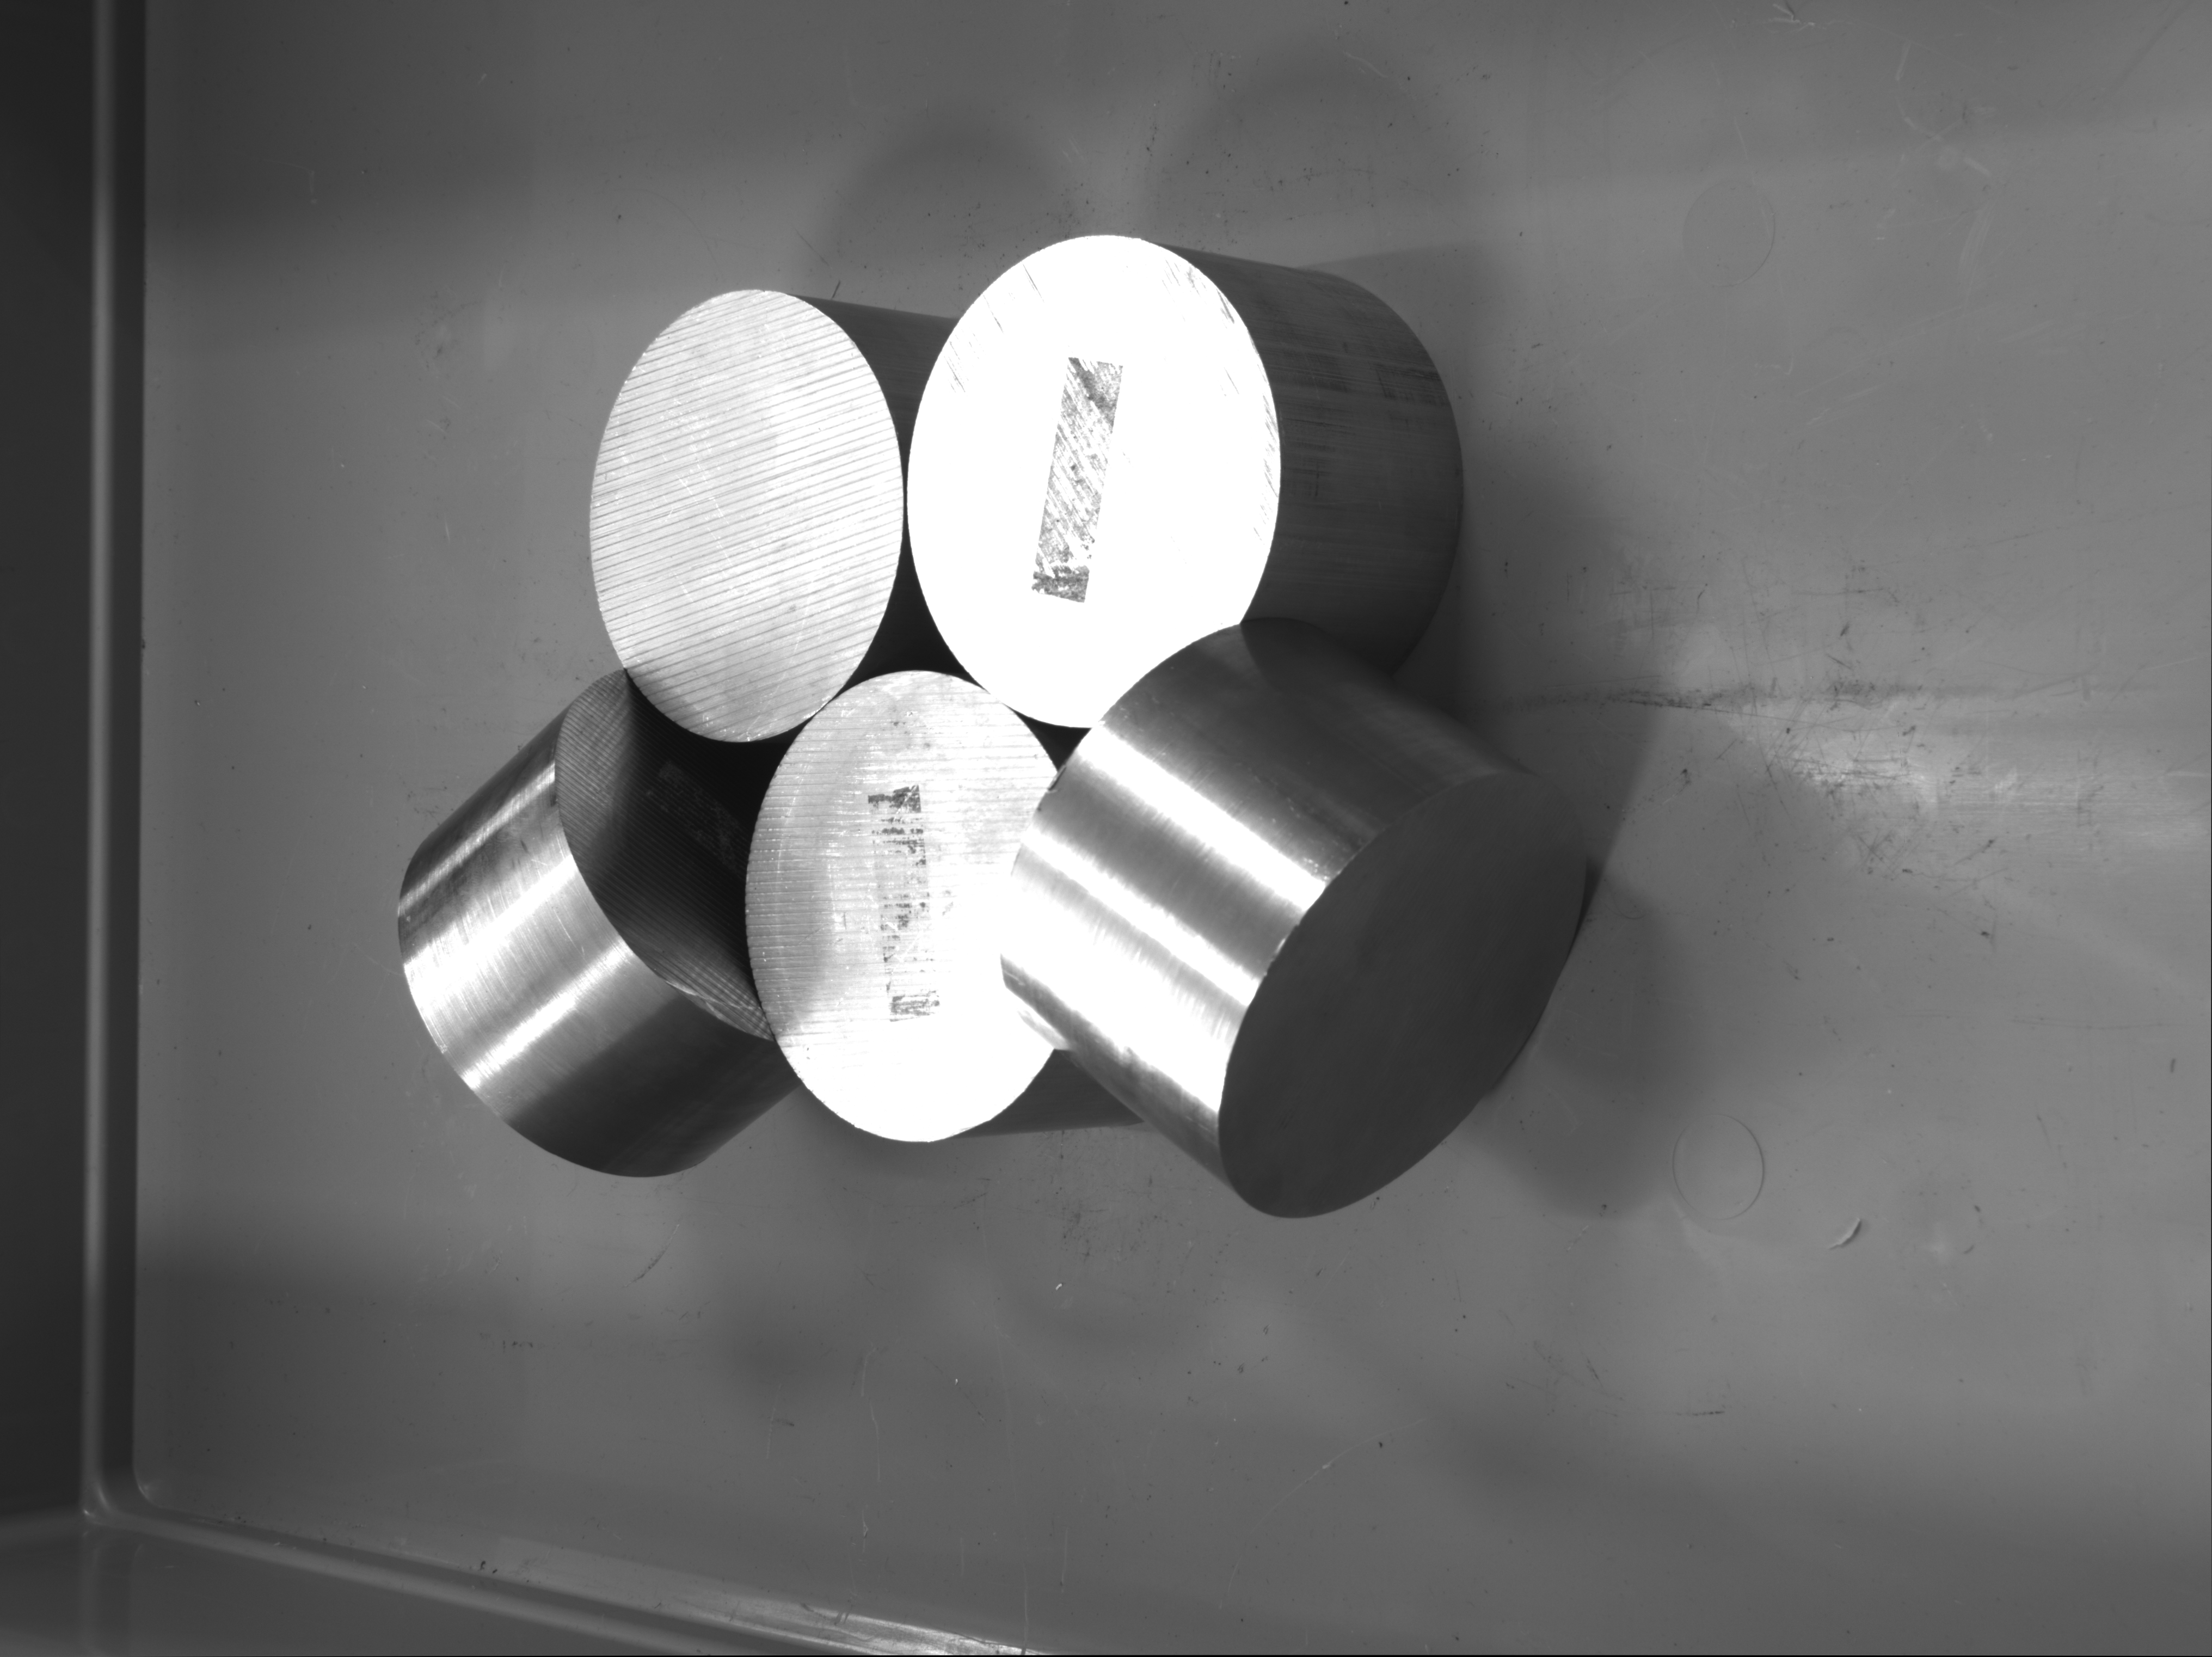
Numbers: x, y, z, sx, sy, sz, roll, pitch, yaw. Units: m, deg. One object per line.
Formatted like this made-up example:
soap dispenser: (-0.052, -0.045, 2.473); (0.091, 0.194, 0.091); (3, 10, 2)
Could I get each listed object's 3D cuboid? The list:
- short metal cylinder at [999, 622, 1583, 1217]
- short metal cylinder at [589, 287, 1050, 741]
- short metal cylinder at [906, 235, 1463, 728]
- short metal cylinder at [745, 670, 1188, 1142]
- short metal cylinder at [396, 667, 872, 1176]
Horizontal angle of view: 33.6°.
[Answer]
short metal cylinder: (0.030, 0.014, 0.582); (0.050, 0.080, 0.080); (36, 112, 34)
short metal cylinder: (-0.048, -0.056, 0.668); (0.080, 0.050, 0.080); (0, 90, 40)
short metal cylinder: (0.013, -0.056, 0.617); (0.080, 0.050, 0.080); (0, 90, 40)
short metal cylinder: (-0.017, 0.013, 0.642); (0.080, 0.050, 0.080); (0, 90, 40)
short metal cylinder: (-0.083, 0.017, 0.678); (0.050, 0.080, 0.080); (-37, 67, 34)
